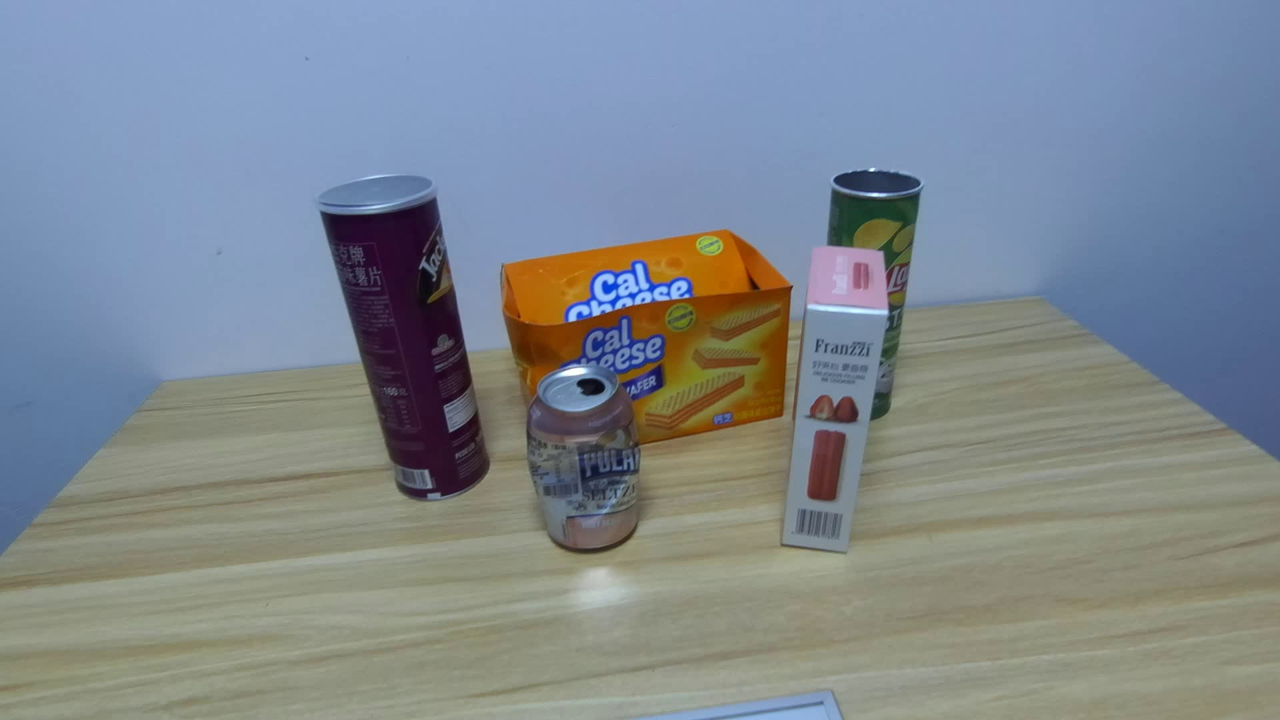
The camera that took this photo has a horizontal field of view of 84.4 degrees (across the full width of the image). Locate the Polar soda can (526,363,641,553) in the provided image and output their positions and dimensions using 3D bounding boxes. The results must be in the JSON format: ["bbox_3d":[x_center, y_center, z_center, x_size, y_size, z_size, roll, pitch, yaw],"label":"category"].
[{"bbox_3d":[-0.035,0.068,0.486,0.074,0.122,0.067,12,34,27],"label":"Polar soda can"}]

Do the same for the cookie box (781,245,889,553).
[{"bbox_3d":[0.129,0.028,0.476,0.048,0.185,0.096,6,31,12],"label":"cookie box"}]

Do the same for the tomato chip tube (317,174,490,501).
[{"bbox_3d":[-0.168,-0.010,0.526,0.078,0.234,0.078,-2,29,2],"label":"tomato chip tube"}]

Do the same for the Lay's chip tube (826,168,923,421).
[{"bbox_3d":[0.187,-0.052,0.593,0.071,0.203,0.071,-3,30,2],"label":"Lay's chip tube"}]

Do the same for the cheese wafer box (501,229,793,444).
[{"bbox_3d":[0.000,-0.017,0.626,0.231,0.132,0.151,-9,32,-12],"label":"cheese wafer box"}]
